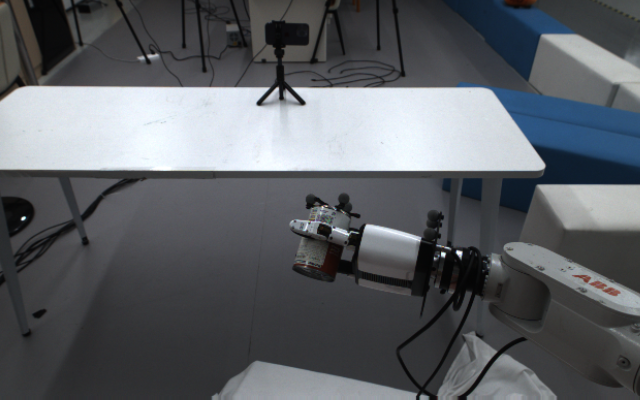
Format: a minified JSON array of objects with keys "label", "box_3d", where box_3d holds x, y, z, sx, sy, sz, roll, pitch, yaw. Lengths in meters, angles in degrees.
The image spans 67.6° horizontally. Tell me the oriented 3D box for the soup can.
[{"label":"soup can","box_3d":[0.005,0.066,0.737,0.067,0.067,0.101,12,70,14]}]
